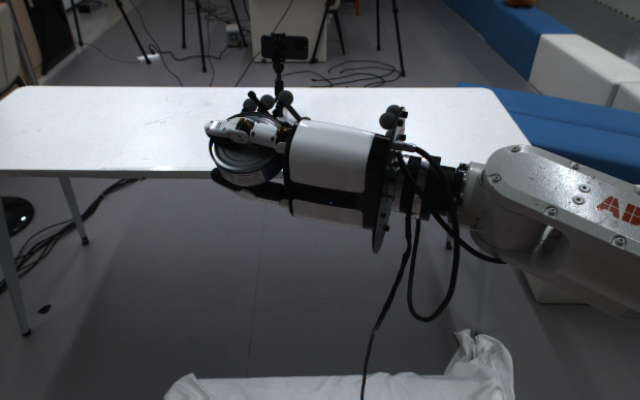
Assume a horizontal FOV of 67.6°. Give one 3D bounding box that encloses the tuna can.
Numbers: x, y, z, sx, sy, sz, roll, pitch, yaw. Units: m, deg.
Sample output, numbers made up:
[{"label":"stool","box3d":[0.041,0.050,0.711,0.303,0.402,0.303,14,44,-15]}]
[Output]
[{"label":"tuna can","box3d":[-0.080,-0.060,0.555,0.085,0.034,0.085,-4,56,6]}]
